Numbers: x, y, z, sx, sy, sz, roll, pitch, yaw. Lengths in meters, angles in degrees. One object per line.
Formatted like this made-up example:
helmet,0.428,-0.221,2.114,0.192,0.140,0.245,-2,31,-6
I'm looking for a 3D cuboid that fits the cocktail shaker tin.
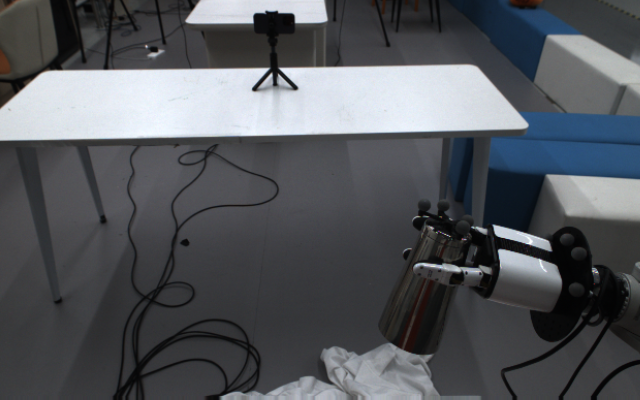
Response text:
cocktail shaker tin,0.152,0.112,0.674,0.093,0.170,0.093,14,18,-5
